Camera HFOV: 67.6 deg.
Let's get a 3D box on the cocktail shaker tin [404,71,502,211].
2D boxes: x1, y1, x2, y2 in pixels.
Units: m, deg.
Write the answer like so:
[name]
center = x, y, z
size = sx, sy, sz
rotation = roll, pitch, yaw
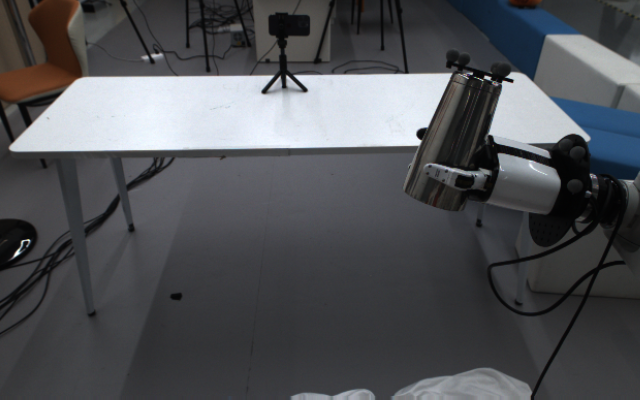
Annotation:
[cocktail shaker tin]
center = 0.183, -0.082, 0.658
size = 0.093, 0.170, 0.093
rotation = 14, 20, -5
